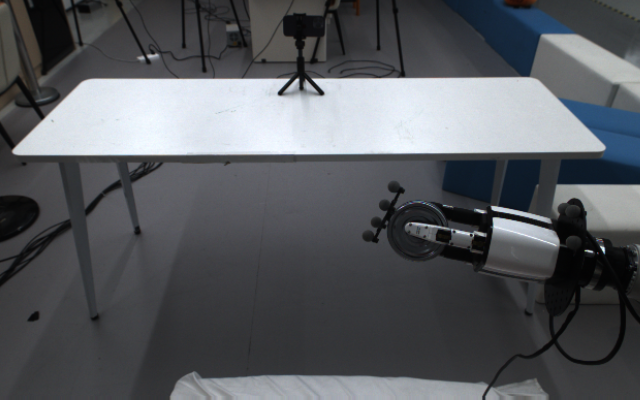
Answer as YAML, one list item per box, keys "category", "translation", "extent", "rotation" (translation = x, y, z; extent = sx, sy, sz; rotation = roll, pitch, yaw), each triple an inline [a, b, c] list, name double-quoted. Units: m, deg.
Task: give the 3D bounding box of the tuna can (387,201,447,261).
- category: "tuna can"
  translation: [0.141, 0.040, 0.685]
  extent: [0.085, 0.085, 0.034]
  rotation: [8, 4, 8]
